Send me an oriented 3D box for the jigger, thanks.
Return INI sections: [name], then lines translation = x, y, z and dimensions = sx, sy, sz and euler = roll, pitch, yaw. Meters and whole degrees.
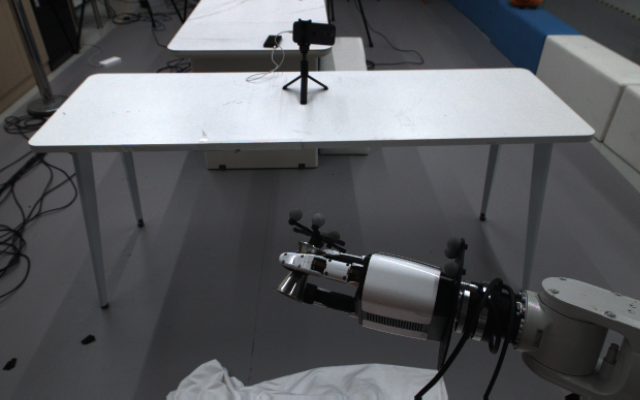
[jigger]
translation = -0.026, 0.089, 0.612
dimensions = 0.043, 0.043, 0.071
euler = 20, 74, 24
